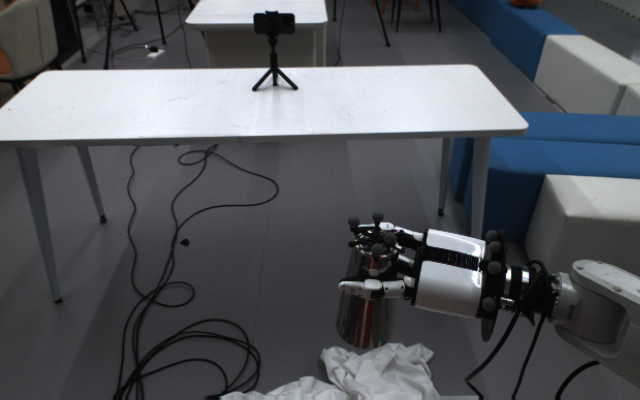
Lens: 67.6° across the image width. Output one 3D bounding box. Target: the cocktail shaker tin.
[{"bbox_3d":[0.077,0.129,0.733,0.093,0.170,0.093,3,33,-2],"label":"cocktail shaker tin"}]
